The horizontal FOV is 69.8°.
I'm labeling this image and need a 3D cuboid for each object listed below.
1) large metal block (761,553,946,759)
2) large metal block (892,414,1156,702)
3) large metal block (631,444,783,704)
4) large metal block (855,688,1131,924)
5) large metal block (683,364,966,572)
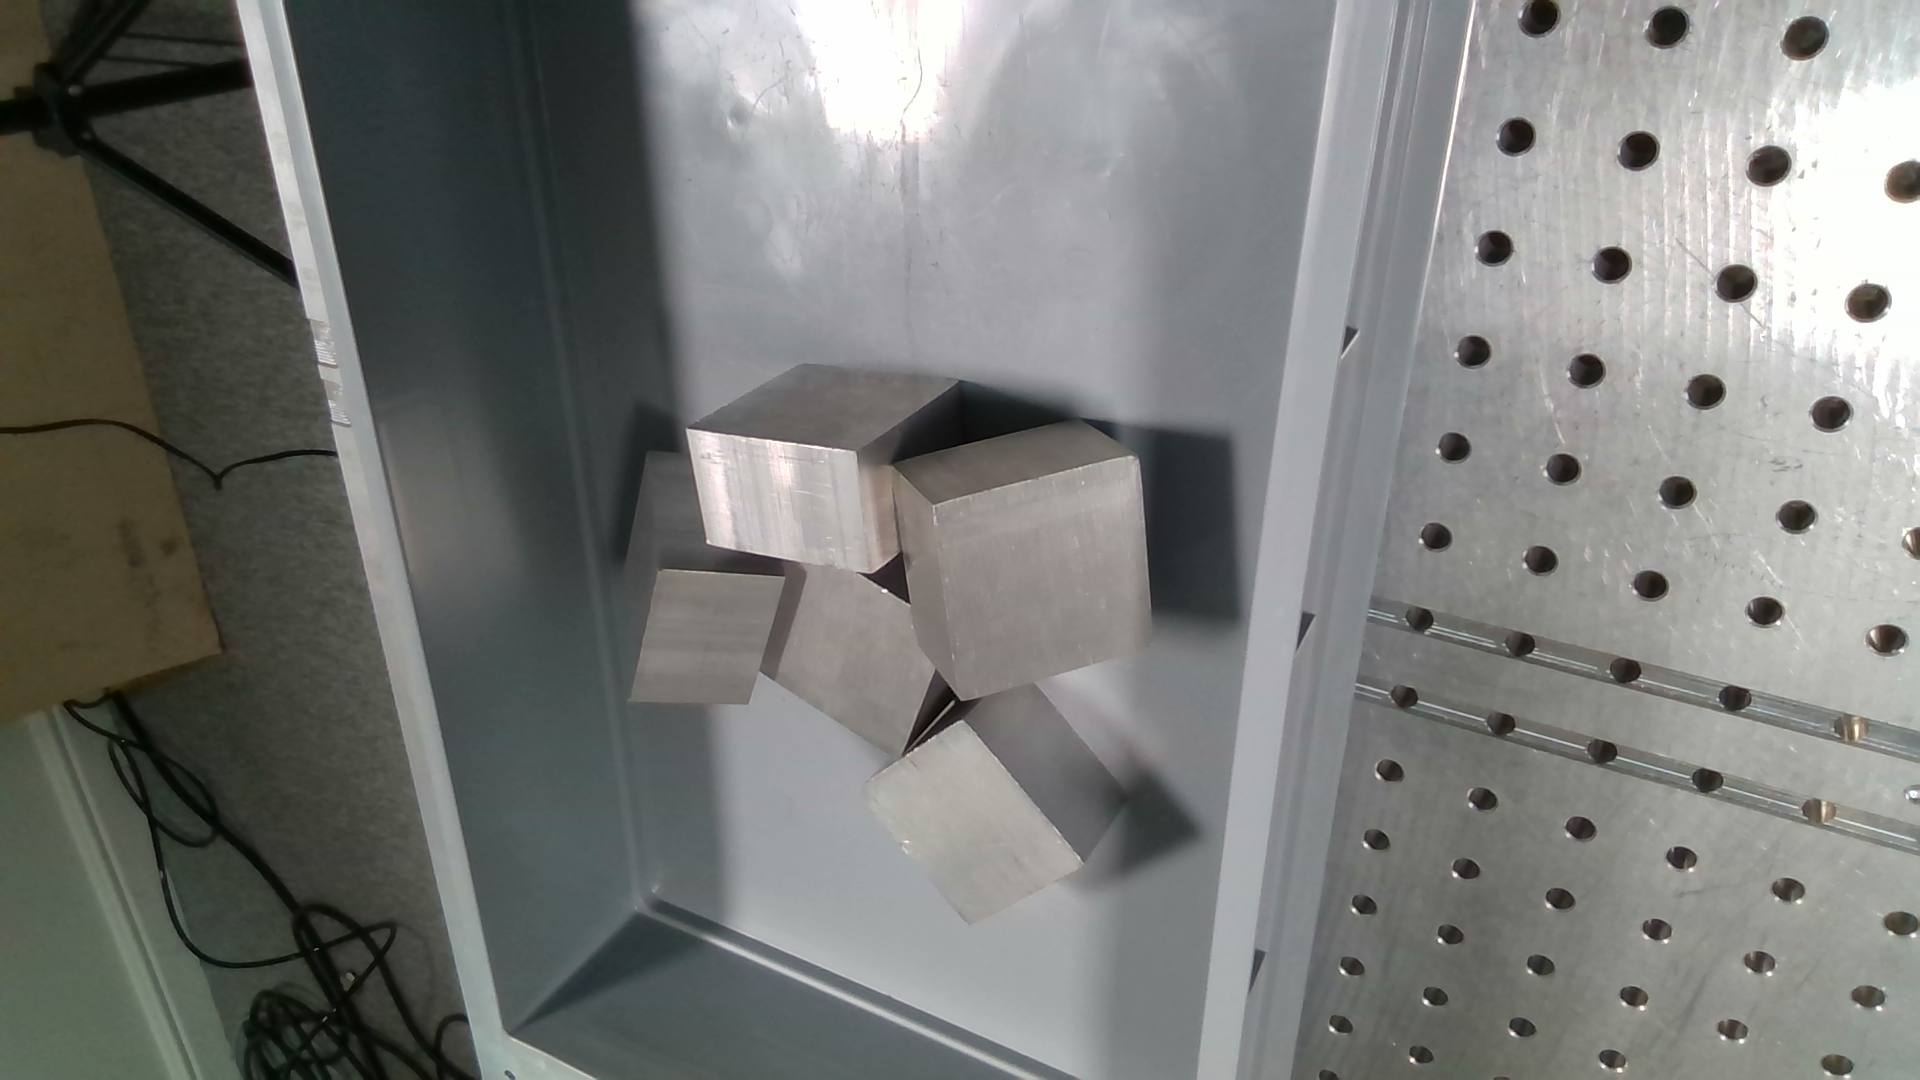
[{"bbox_3d":[-0.037,0.035,0.605,0.080,0.050,0.080,31,127,14],"label":"large metal block"},{"bbox_3d":[0.025,0.005,0.523,0.050,0.080,0.080,-133,33,-61],"label":"large metal block"},{"bbox_3d":[-0.116,0.016,0.615,0.050,0.080,0.080,5,130,-20],"label":"large metal block"},{"bbox_3d":[0.014,0.113,0.616,0.080,0.050,0.080,50,129,-2],"label":"large metal block"},{"bbox_3d":[-0.051,-0.033,0.557,0.080,0.080,0.050,9,119,28],"label":"large metal block"}]
